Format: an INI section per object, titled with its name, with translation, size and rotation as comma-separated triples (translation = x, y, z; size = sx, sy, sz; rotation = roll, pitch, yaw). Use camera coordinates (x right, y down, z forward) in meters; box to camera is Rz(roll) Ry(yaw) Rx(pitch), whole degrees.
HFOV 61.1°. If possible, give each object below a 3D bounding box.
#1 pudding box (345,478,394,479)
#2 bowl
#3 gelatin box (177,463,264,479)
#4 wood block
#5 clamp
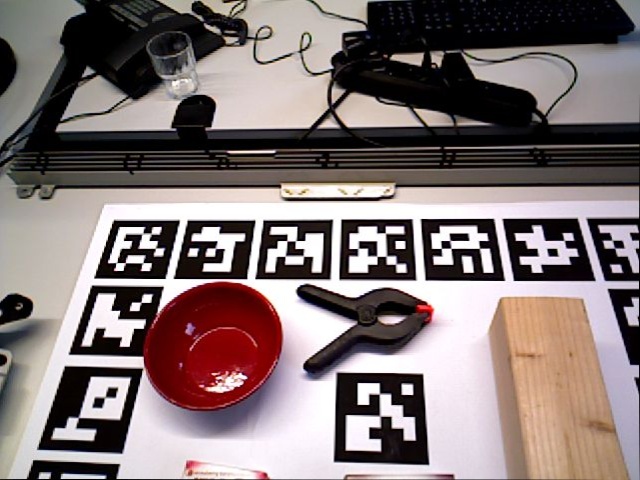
[pudding box]
translation = 0.079, 0.278, 0.517
size = 0.114, 0.039, 0.089
rotation = -2, 59, 7
[bowl]
translation = -0.123, 0.128, 0.637
size = 0.161, 0.056, 0.159
rotation = -2, 58, 3
[gelatin box]
translation = -0.106, 0.269, 0.543
size = 0.089, 0.031, 0.072
rotation = 7, 58, 9
[wood block]
translation = 0.240, 0.169, 0.545
size = 0.090, 0.092, 0.203
rotation = 3, 56, 5
[clamp]
translation = 0.039, 0.101, 0.654
size = 0.164, 0.037, 0.120
rotation = -8, 55, -3
